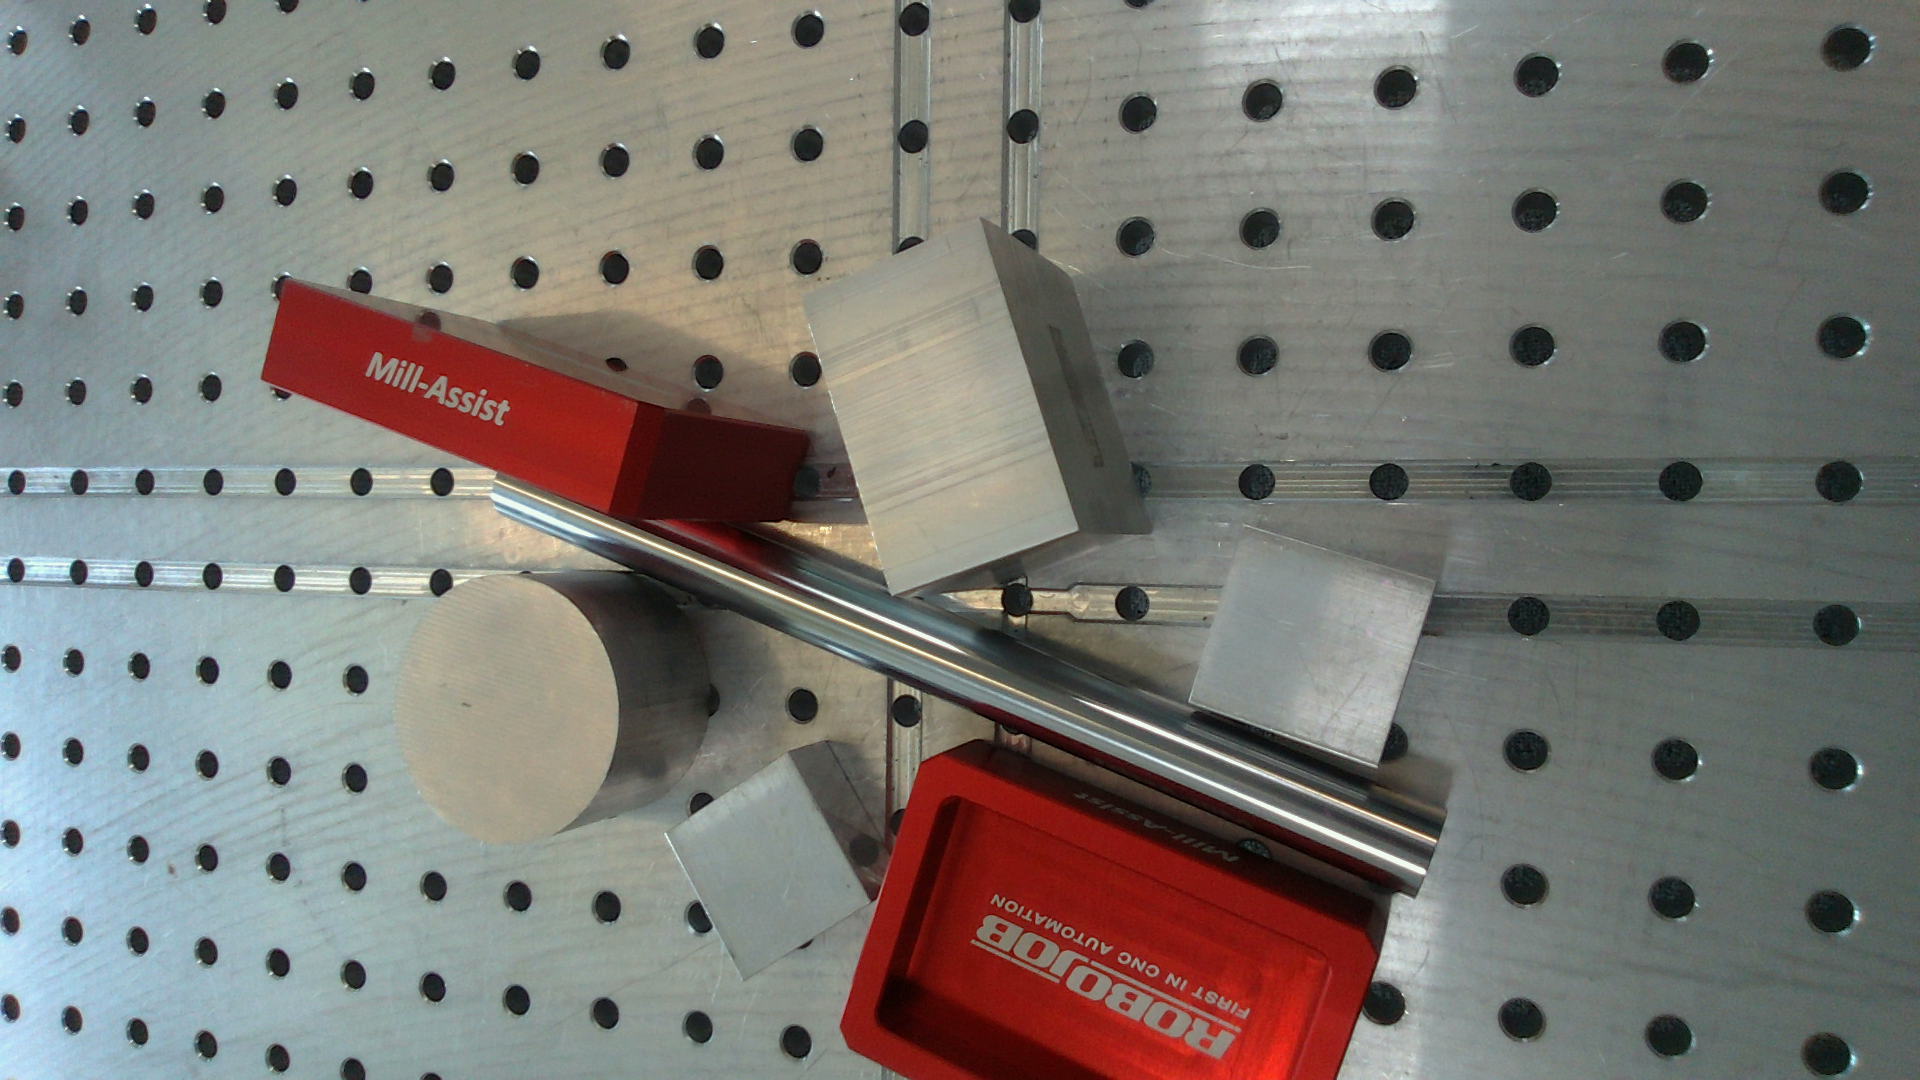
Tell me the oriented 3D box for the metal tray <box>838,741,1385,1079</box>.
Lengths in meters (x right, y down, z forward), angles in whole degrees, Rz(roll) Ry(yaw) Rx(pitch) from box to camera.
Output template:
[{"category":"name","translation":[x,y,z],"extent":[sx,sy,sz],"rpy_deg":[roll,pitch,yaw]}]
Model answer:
[{"category":"metal tray","translation":[0.040,0.121,0.381],"extent":[0.130,0.030,0.090],"rpy_deg":[19,97,19]}]

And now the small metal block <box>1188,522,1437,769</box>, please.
[{"category":"small metal block","translation":[0.094,0.027,0.364],"extent":[0.050,0.025,0.050],"rpy_deg":[18,96,19]}]

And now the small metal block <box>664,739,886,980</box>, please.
[{"category":"small metal block","translation":[-0.053,0.096,0.419],"extent":[0.050,0.025,0.050],"rpy_deg":[-34,79,17]}]

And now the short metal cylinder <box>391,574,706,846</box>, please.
[{"category":"short metal cylinder","translation":[-0.128,0.050,0.430],"extent":[0.080,0.050,0.080],"rpy_deg":[0,90,20]}]

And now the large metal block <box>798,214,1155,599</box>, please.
[{"category":"large metal block","translation":[0.008,-0.032,0.368],"extent":[0.050,0.080,0.080],"rpy_deg":[-20,83,19]}]

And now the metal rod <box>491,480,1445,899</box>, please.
[{"category":"metal rod","translation":[-0.012,0.031,0.403],"extent":[0.299,0.025,0.025],"rpy_deg":[21,97,19]}]

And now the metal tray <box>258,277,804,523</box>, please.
[{"category":"metal tray","translation":[-0.124,-0.040,0.407],"extent":[0.130,0.090,0.030],"rpy_deg":[20,97,19]}]
